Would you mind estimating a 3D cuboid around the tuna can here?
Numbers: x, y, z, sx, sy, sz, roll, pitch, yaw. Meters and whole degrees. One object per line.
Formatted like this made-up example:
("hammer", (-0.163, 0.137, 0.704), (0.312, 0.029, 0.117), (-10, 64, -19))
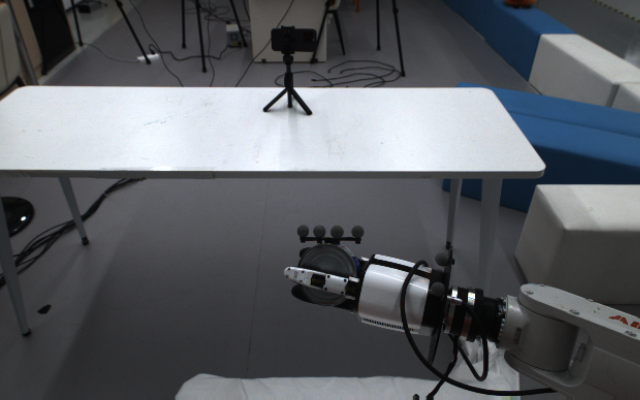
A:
("tuna can", (0.015, 0.102, 0.672), (0.085, 0.085, 0.034), (15, 2, 18))
